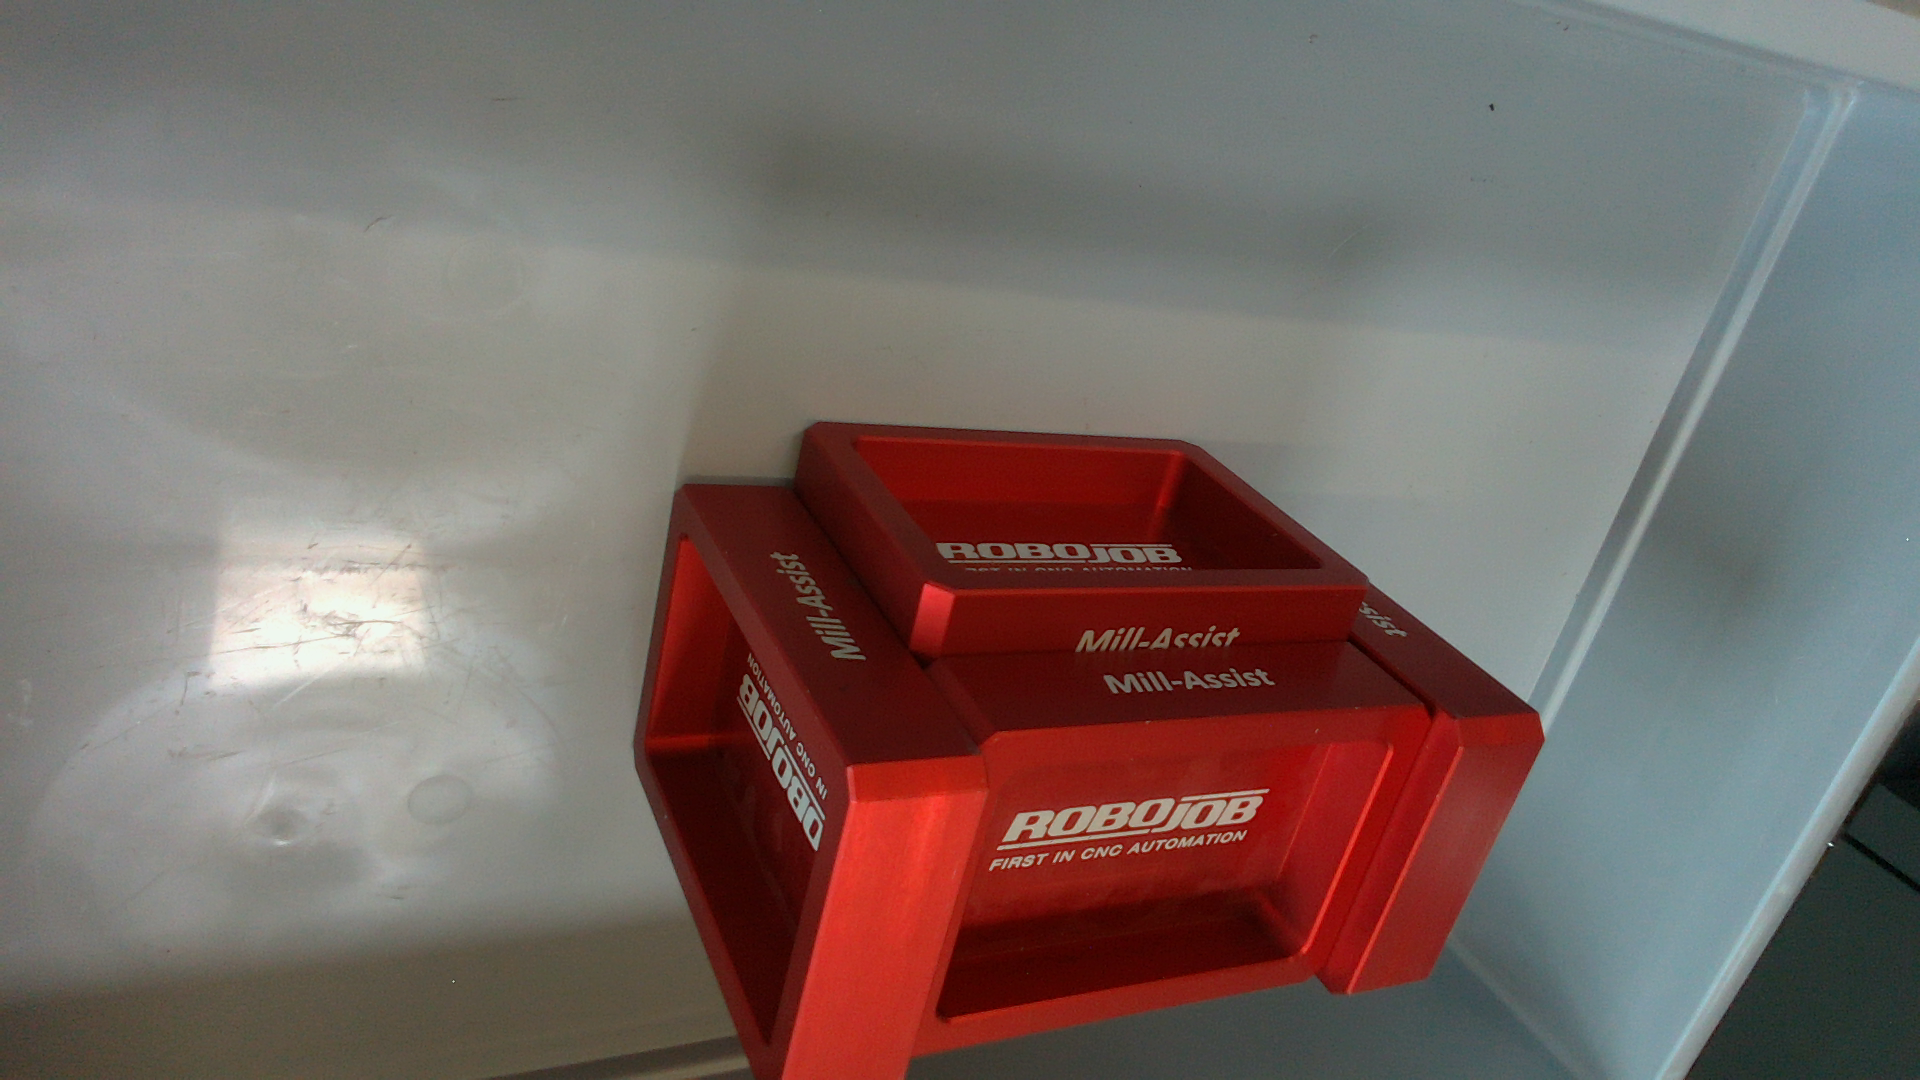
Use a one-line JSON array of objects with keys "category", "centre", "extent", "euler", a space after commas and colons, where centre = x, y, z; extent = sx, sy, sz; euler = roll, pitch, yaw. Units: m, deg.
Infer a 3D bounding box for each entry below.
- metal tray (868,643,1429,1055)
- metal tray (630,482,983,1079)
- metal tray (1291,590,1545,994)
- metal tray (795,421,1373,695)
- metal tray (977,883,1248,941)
[{"category": "metal tray", "centre": [0.044, 0.073, 0.336], "extent": [0.130, 0.030, 0.090], "euler": [1, 118, -29]}, {"category": "metal tray", "centre": [-0.044, 0.054, 0.329], "extent": [0.030, 0.130, 0.090], "euler": [0, 119, -28]}, {"category": "metal tray", "centre": [0.099, 0.055, 0.406], "extent": [0.030, 0.130, 0.090], "euler": [1, 119, -29]}, {"category": "metal tray", "centre": [0.030, 0.003, 0.363], "extent": [0.130, 0.090, 0.030], "euler": [0, 119, -28]}, {"category": "metal tray", "centre": [0.010, 0.082, 0.400], "extent": [0.130, 0.090, 0.030], "euler": [0, 118, -28]}]
